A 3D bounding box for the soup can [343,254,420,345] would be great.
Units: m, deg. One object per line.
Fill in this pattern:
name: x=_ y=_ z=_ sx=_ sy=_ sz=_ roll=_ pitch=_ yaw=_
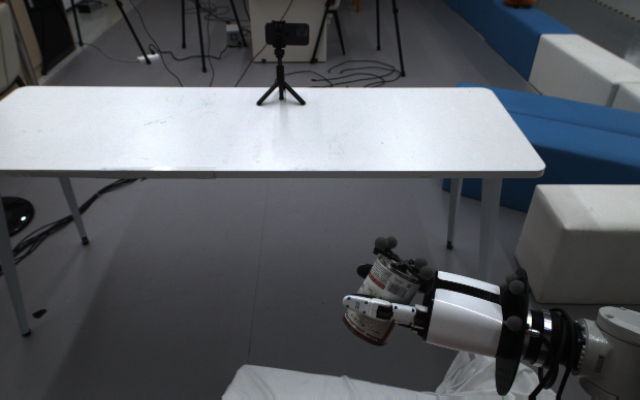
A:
soup can: x=0.085 y=0.131 z=0.642 sx=0.067 sy=0.101 sz=0.067 roll=27 pitch=10 yaw=-5
